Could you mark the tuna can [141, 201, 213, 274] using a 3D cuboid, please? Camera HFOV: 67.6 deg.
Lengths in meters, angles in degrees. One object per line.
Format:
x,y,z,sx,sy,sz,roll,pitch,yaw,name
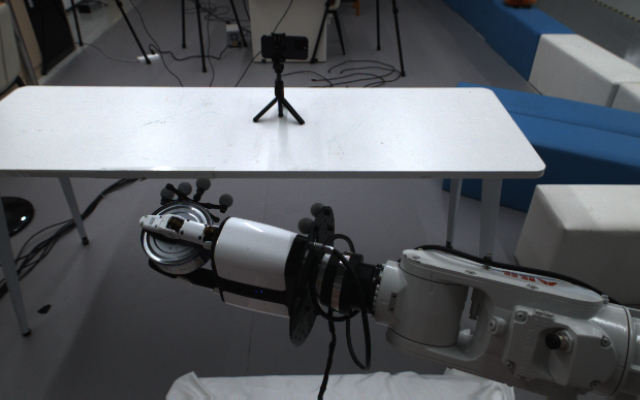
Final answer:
-0.167,0.045,0.584,0.085,0.034,0.085,-3,57,4,tuna can
